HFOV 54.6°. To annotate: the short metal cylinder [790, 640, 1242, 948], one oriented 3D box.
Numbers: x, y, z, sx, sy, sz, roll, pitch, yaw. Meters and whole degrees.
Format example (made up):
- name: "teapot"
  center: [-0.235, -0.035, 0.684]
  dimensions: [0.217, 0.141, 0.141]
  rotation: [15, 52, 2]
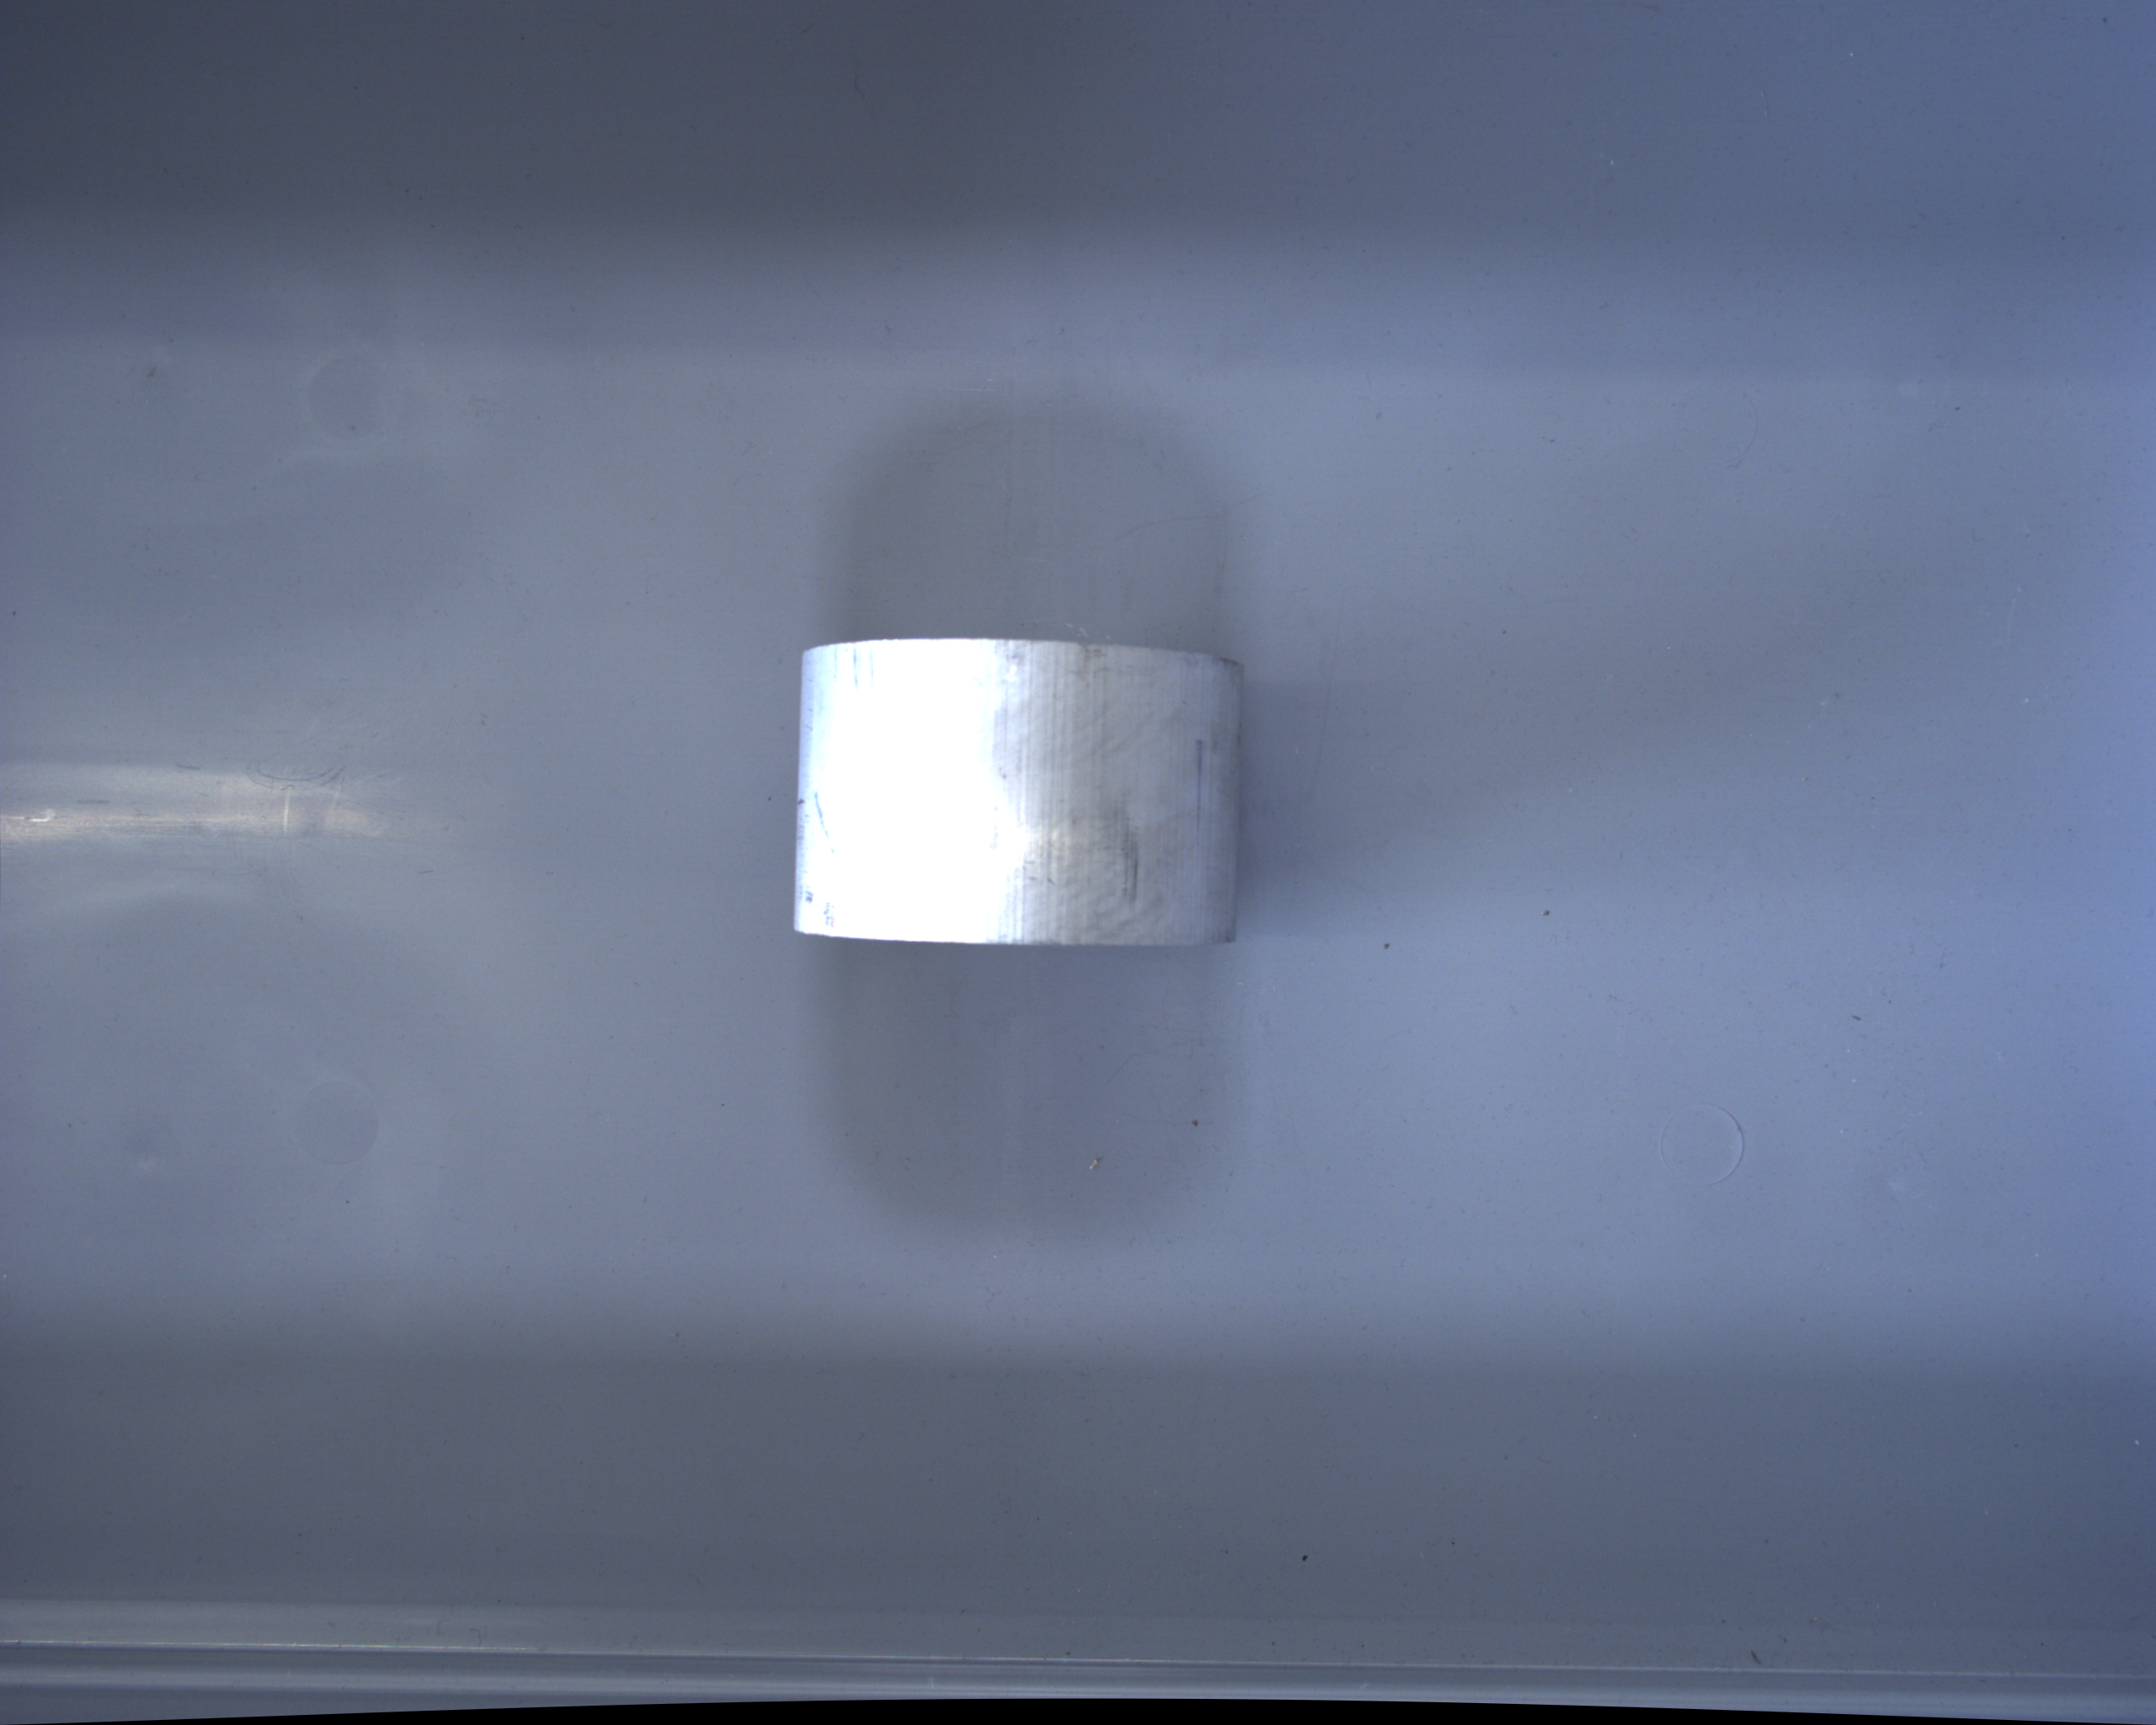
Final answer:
- name: "short metal cylinder"
  center: [-0.011, -0.011, 0.381]
  dimensions: [0.080, 0.080, 0.050]
  rotation: [2, 90, 0]
